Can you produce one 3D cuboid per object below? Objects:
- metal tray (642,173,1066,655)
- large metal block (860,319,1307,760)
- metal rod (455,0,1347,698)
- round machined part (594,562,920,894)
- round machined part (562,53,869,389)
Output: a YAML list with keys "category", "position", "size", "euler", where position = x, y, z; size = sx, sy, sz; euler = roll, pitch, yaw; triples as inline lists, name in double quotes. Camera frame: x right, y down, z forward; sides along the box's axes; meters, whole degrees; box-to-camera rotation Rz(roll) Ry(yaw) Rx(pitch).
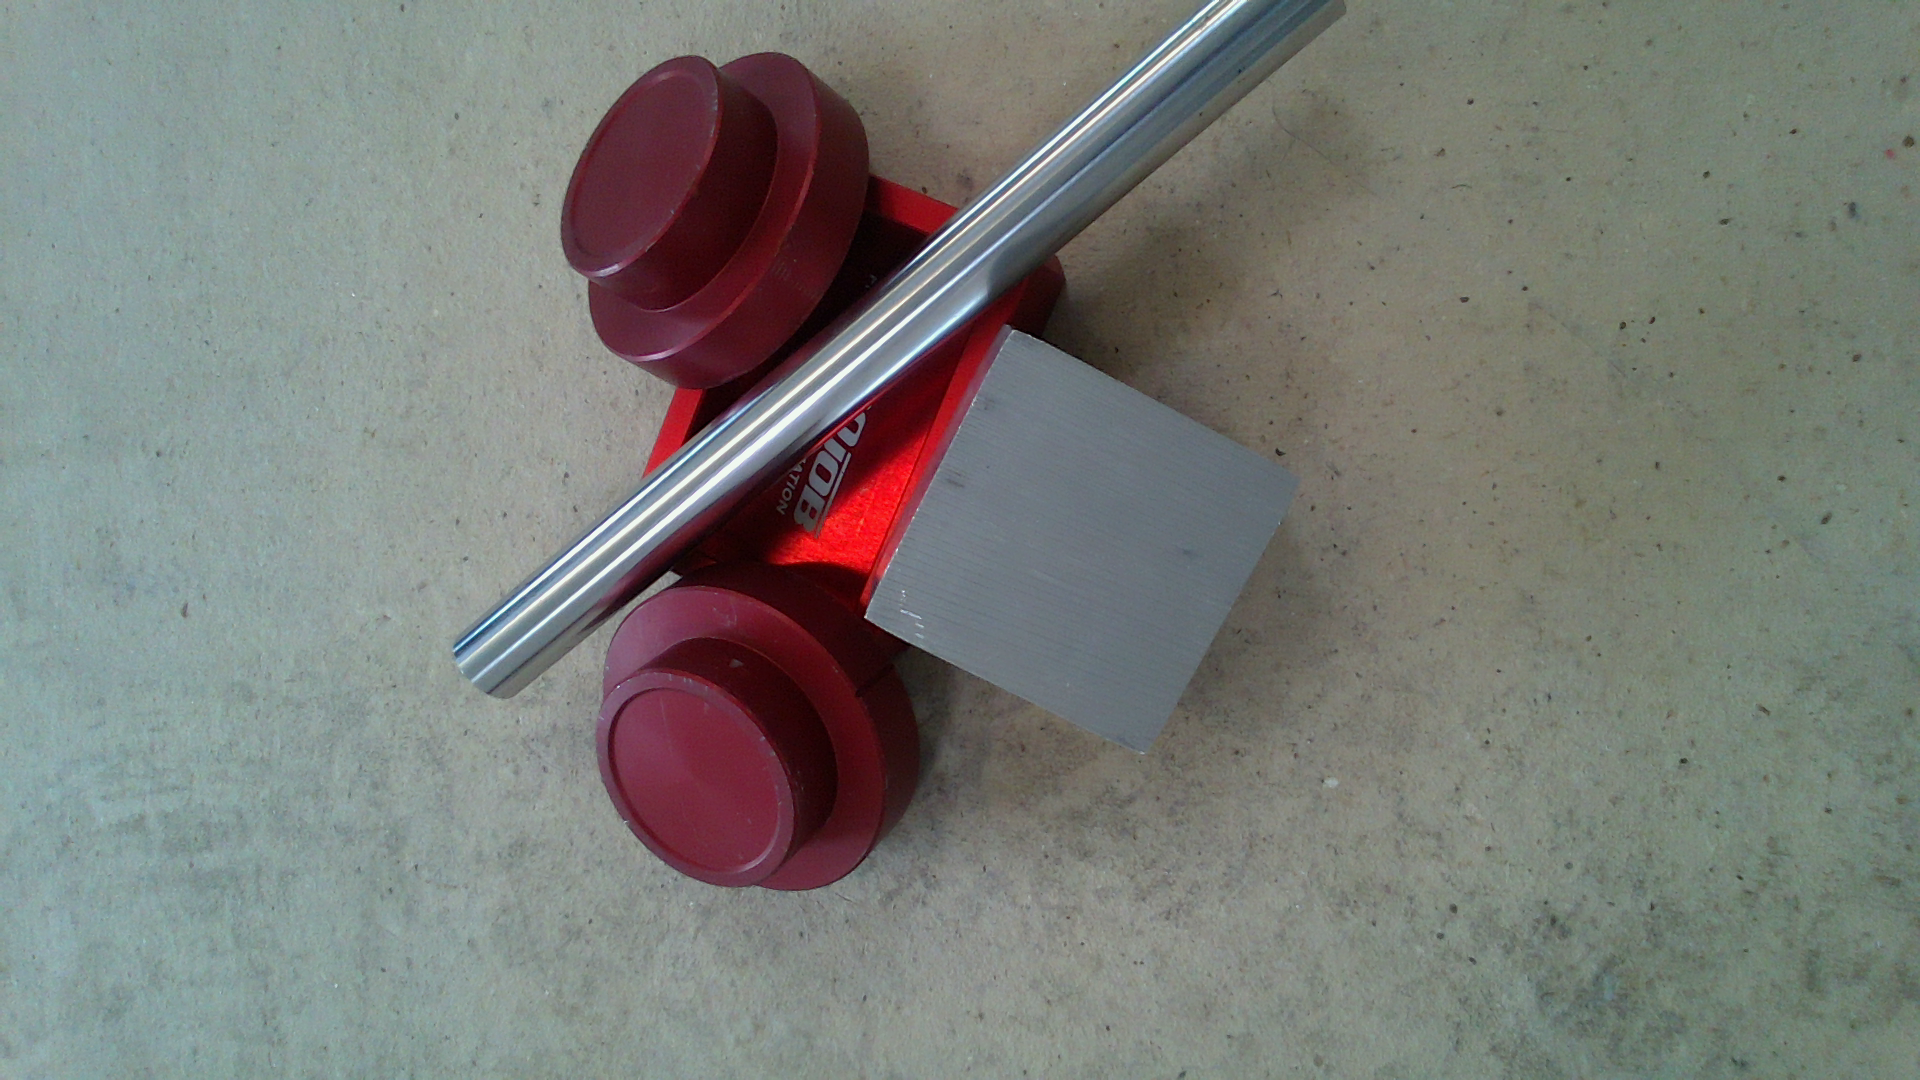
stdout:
- category: "metal tray"
  position: [-0.036, -0.040, 0.406]
  size: [0.090, 0.030, 0.130]
  euler: [26, 99, 18]
- category: "large metal block"
  position: [0.029, -0.003, 0.357]
  size: [0.080, 0.050, 0.080]
  euler: [27, 99, -7]
- category: "metal rod"
  position: [-0.028, -0.050, 0.375]
  size: [0.299, 0.025, 0.025]
  euler: [-37, 78, 16]
- category: "round machined part"
  position: [-0.064, 0.059, 0.392]
  size: [0.098, 0.042, 0.098]
  euler: [10, 115, 24]
- category: "round machined part"
  position: [-0.076, -0.096, 0.393]
  size: [0.098, 0.042, 0.098]
  euler: [-19, 59, 35]
